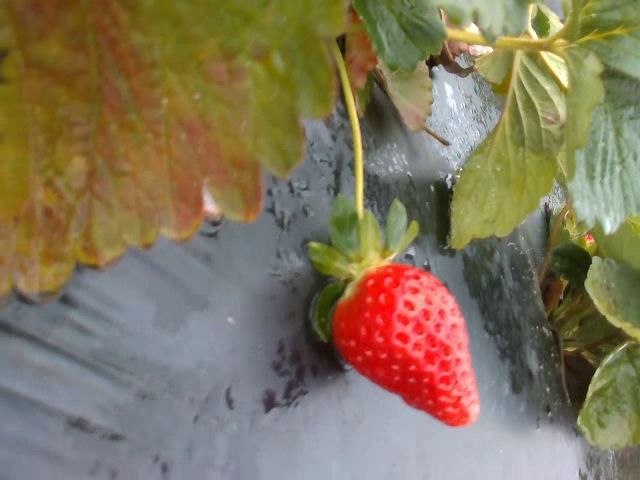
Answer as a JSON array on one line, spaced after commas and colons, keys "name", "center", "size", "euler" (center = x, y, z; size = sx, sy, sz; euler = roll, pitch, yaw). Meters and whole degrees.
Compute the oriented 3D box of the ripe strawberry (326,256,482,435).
[{"name": "ripe strawberry", "center": [0.027, 0.031, 0.169], "size": [0.045, 0.054, 0.048], "euler": [-1, -32, -34]}]
